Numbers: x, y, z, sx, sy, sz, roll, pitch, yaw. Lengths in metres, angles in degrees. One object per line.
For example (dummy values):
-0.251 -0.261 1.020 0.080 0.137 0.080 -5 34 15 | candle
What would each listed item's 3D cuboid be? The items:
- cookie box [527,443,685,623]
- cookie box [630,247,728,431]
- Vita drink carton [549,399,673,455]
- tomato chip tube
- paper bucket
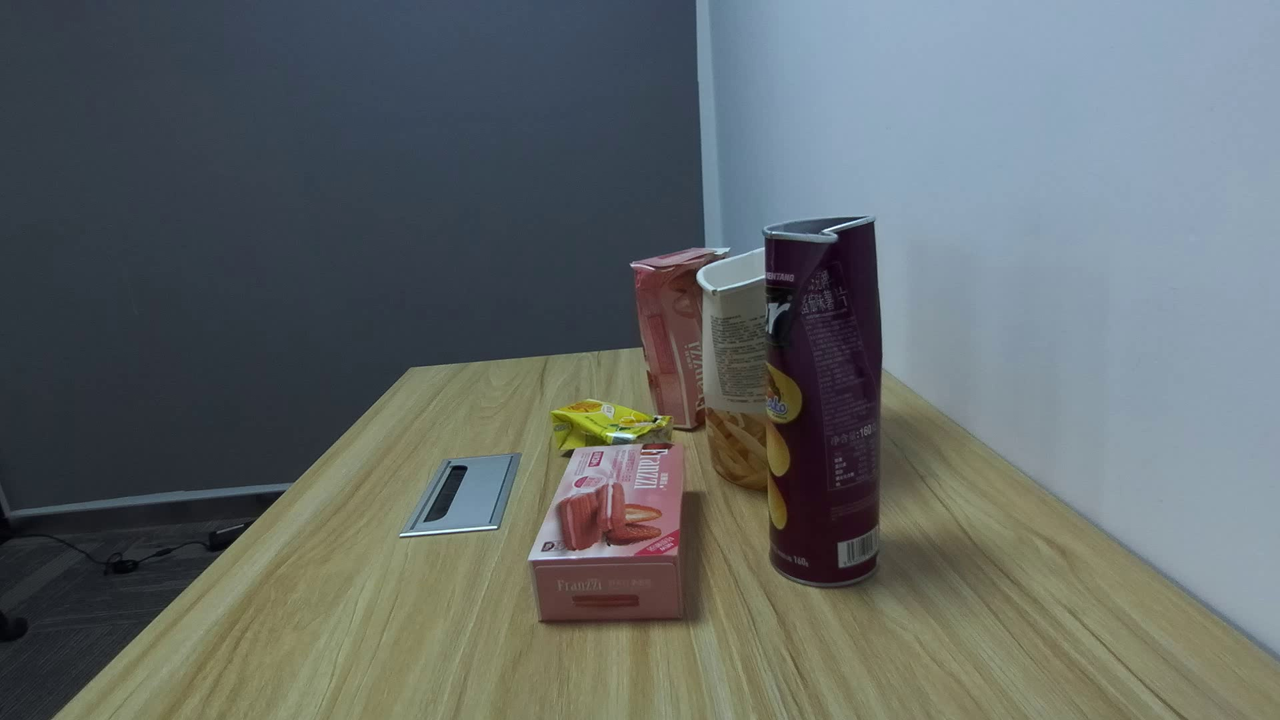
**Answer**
-0.015 0.120 0.530 0.096 0.048 0.184 -4 15 5 | cookie box
0.053 -0.023 0.765 0.055 0.184 0.119 6 18 41 | cookie box
-0.027 0.073 0.714 0.108 0.042 0.087 10 15 32 | Vita drink carton
0.123 0.028 0.467 0.077 0.235 0.076 -1 16 9 | tomato chip tube
0.129 -0.001 0.633 0.147 0.199 0.218 -4 14 5 | paper bucket
